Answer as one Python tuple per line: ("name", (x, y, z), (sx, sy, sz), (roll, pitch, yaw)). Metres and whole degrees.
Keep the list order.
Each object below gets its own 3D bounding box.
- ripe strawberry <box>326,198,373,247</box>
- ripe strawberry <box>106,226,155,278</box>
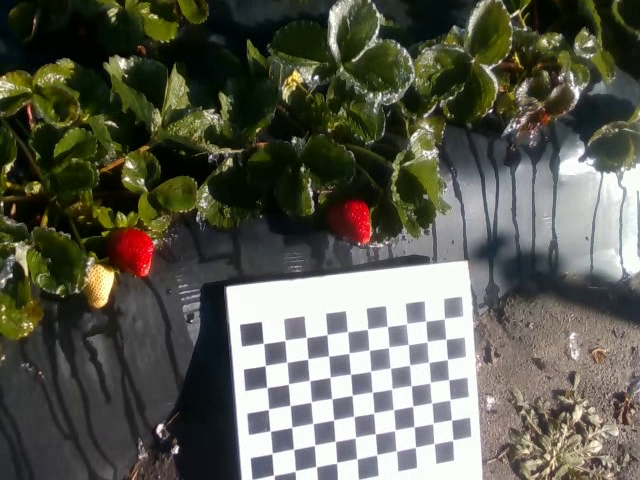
("ripe strawberry", (0.038, -0.018, 0.642), (0.048, 0.061, 0.044), (-13, -27, -17))
("ripe strawberry", (-0.179, 0.018, 0.582), (0.042, 0.061, 0.046), (-21, -35, -15))
